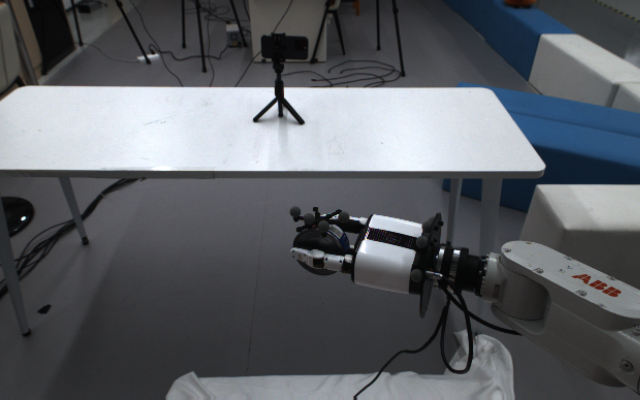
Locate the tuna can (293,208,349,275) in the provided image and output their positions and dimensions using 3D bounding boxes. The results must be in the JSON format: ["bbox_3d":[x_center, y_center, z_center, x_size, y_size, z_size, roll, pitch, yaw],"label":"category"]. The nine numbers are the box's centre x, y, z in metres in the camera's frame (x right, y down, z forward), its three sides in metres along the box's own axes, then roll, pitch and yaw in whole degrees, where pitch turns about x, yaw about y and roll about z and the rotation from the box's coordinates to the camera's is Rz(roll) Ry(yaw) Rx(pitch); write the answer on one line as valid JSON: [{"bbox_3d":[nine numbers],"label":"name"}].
[{"bbox_3d":[0.004,0.074,0.764,0.085,0.085,0.034,14,29,16],"label":"tuna can"}]
